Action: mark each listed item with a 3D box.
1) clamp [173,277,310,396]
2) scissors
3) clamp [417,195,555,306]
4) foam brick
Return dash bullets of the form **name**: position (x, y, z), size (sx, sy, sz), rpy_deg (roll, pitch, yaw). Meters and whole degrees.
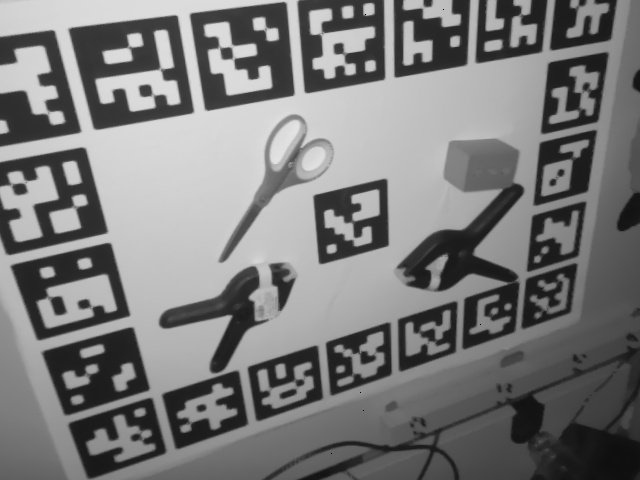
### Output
- **clamp**: position (-0.081, 0.105, 0.851), size (0.165, 0.036, 0.122), rpy_deg (-39, 116, -2)
- **scissors**: position (-0.036, -0.038, 0.804), size (0.088, 0.016, 0.201), rpy_deg (28, 103, -24)
- **clamp**: position (0.228, 0.037, 0.945), size (0.205, 0.036, 0.164), rpy_deg (-18, 123, -14)
- **foam brick**: position (0.233, -0.084, 0.883), size (0.079, 0.051, 0.052), rpy_deg (-9, 116, -24)
